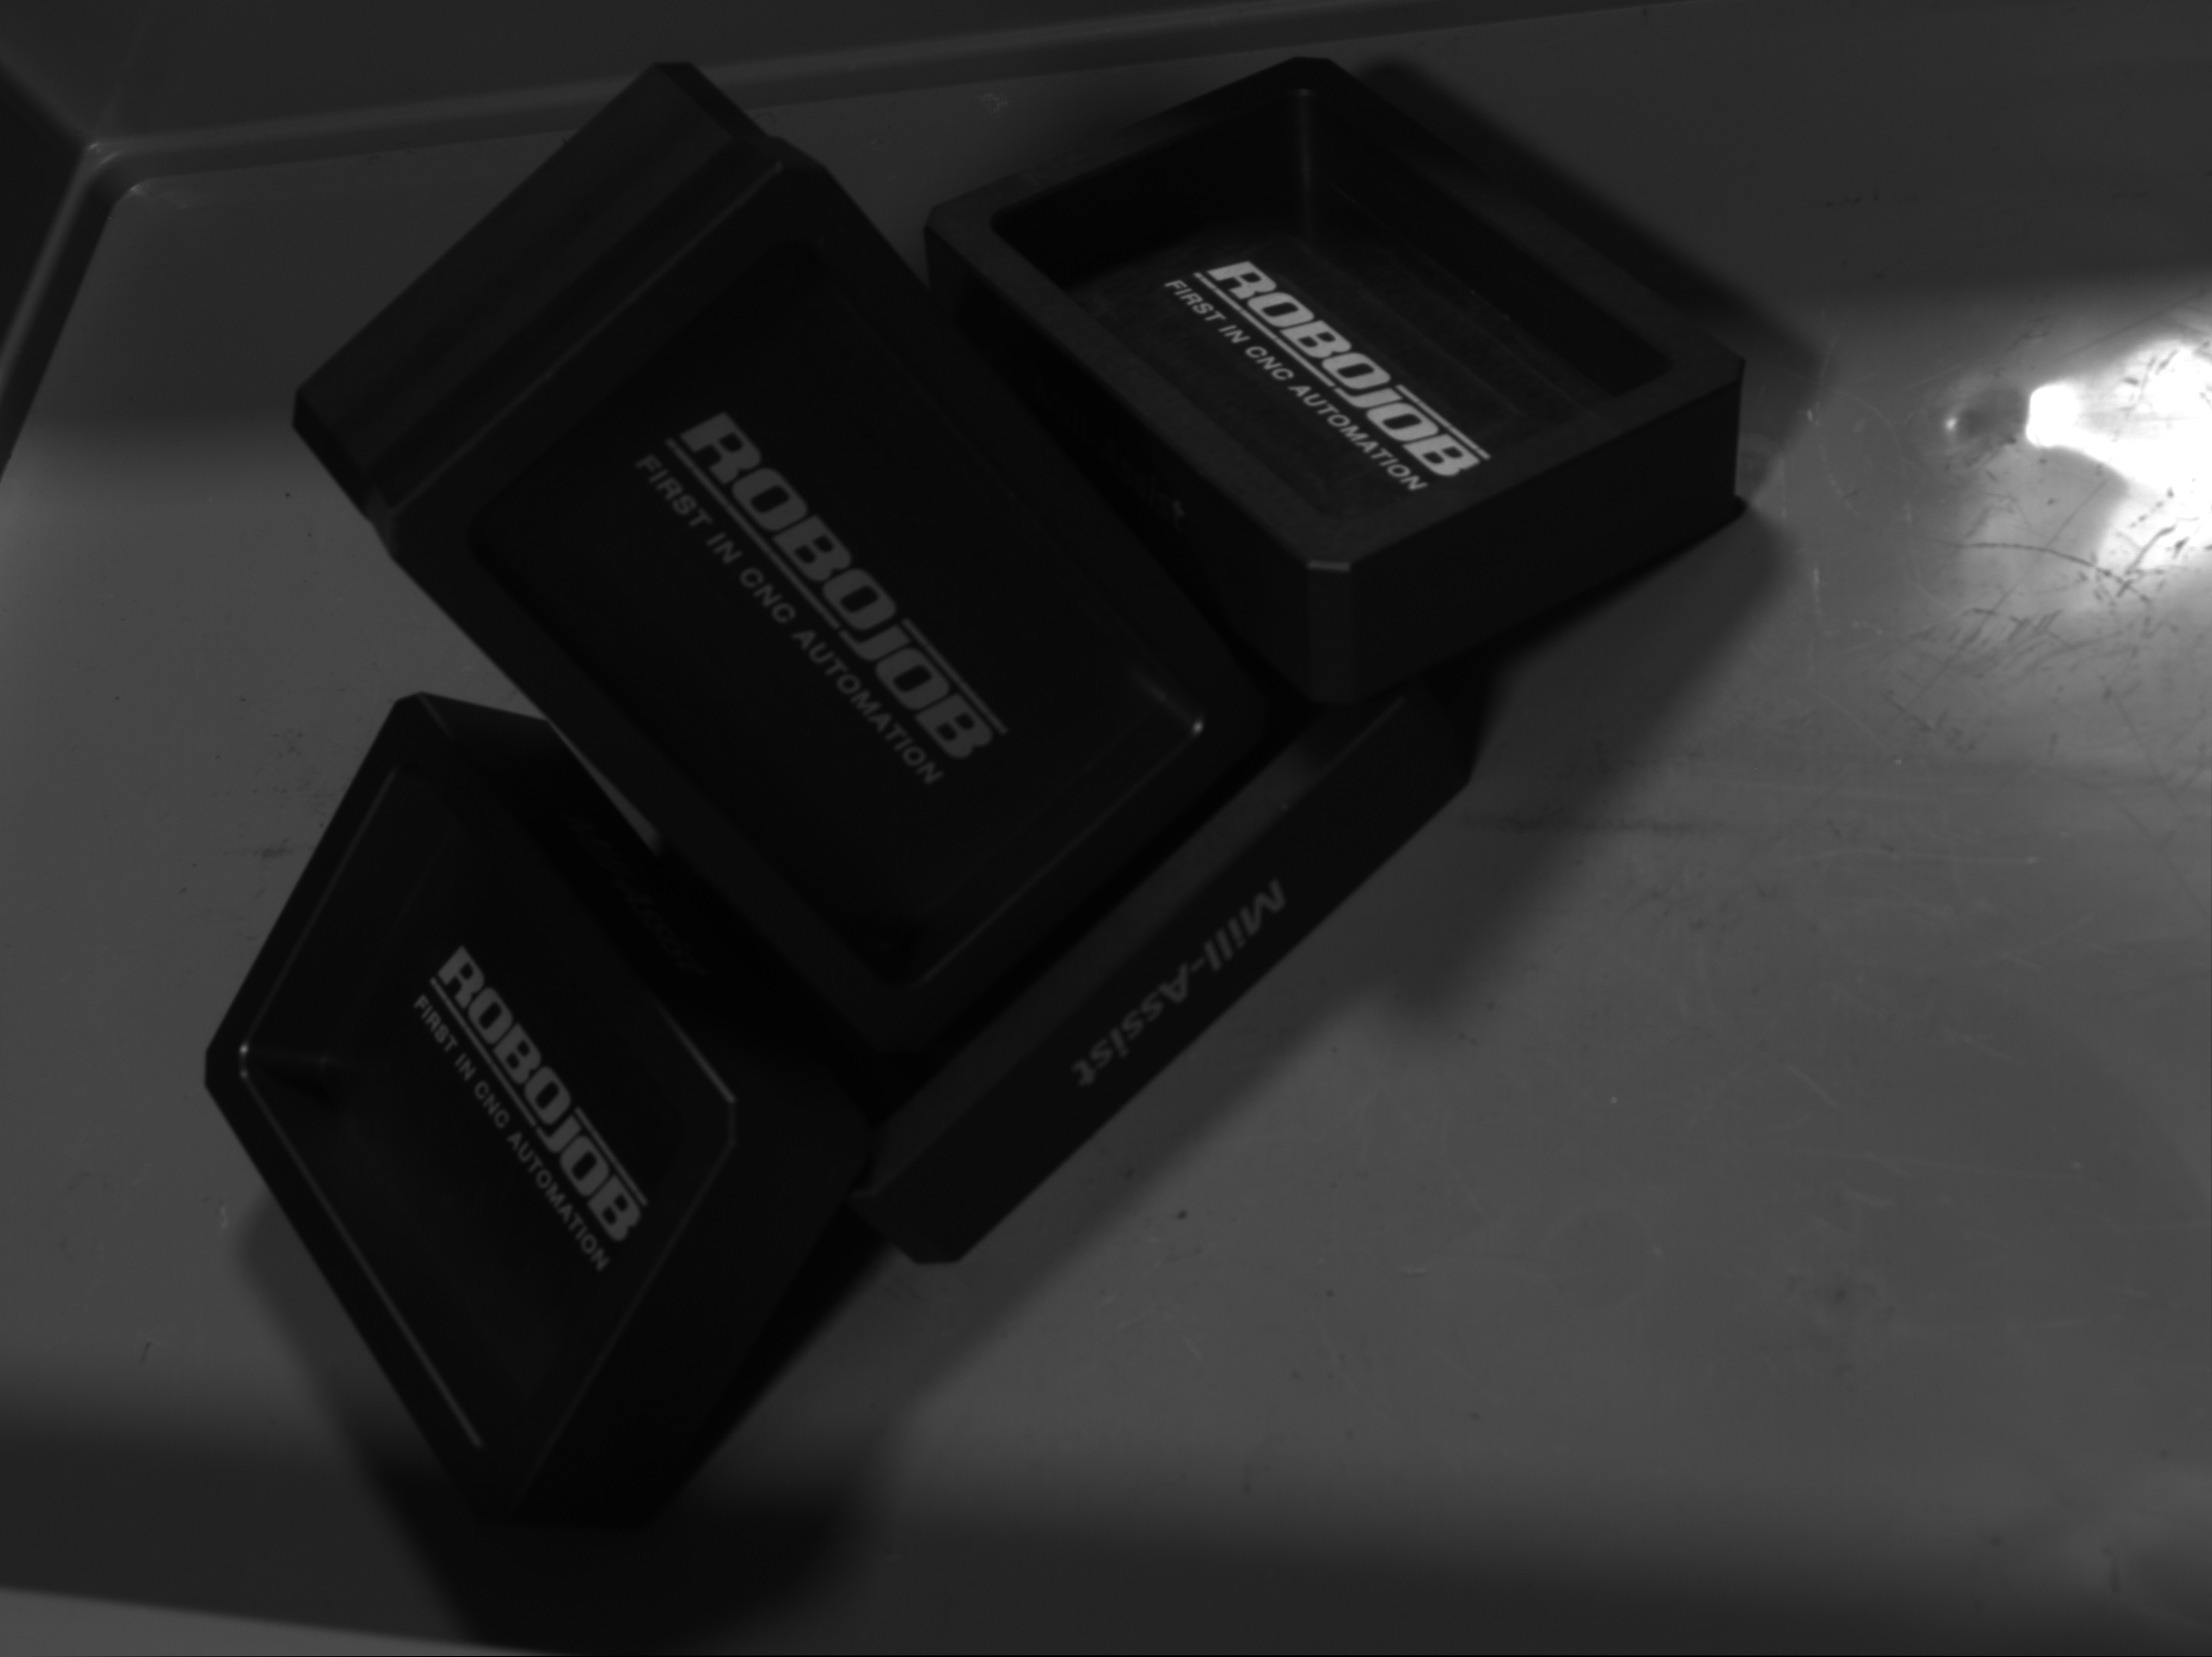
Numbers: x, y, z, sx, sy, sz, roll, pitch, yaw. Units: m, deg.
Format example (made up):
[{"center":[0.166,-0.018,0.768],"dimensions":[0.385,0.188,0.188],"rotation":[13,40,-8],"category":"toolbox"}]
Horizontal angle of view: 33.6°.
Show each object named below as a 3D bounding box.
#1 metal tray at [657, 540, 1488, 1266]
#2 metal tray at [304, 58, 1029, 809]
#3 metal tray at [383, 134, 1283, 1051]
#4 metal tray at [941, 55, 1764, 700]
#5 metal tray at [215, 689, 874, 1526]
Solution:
[{"center":[-0.009,0.002,0.643],"dimensions":[0.130,0.030,0.090],"rotation":[-43,51,-2],"category":"metal tray"},{"center":[-0.067,-0.061,0.648],"dimensions":[0.090,0.130,0.030],"rotation":[-43,50,-1],"category":"metal tray"},{"center":[-0.043,-0.037,0.605],"dimensions":[0.090,0.130,0.030],"rotation":[-42,27,-1],"category":"metal tray"},{"center":[0.041,-0.084,0.647],"dimensions":[0.090,0.030,0.130],"rotation":[-26,47,-21],"category":"metal tray"},{"center":[-0.102,0.047,0.643],"dimensions":[0.130,0.030,0.090],"rotation":[47,113,39],"category":"metal tray"}]
